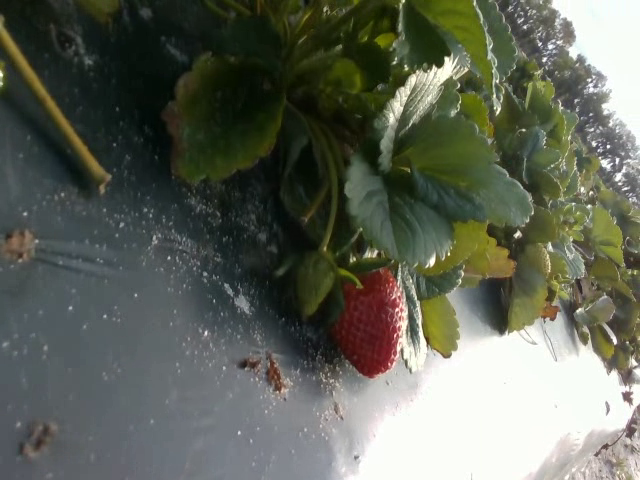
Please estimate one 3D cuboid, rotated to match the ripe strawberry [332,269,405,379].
[{"bbox_3d":[0.015,0.025,0.171,0.021,0.036,0.029,-23,-25,36],"label":"ripe strawberry"}]
